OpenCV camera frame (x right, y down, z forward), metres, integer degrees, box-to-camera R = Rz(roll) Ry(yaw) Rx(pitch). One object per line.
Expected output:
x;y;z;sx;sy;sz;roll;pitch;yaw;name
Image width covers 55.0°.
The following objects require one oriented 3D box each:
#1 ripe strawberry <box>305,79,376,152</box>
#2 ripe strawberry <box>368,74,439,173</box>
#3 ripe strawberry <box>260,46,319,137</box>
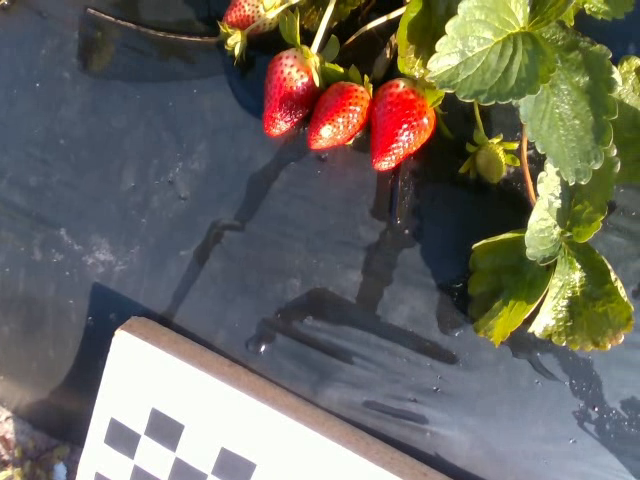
0.006;-0.057;0.285;0.030;0.039;0.037;35;-38;6;ripe strawberry
0.033;-0.046;0.283;0.035;0.041;0.034;22;-27;12;ripe strawberry
-0.017;-0.071;0.296;0.031;0.046;0.023;26;10;11;ripe strawberry
